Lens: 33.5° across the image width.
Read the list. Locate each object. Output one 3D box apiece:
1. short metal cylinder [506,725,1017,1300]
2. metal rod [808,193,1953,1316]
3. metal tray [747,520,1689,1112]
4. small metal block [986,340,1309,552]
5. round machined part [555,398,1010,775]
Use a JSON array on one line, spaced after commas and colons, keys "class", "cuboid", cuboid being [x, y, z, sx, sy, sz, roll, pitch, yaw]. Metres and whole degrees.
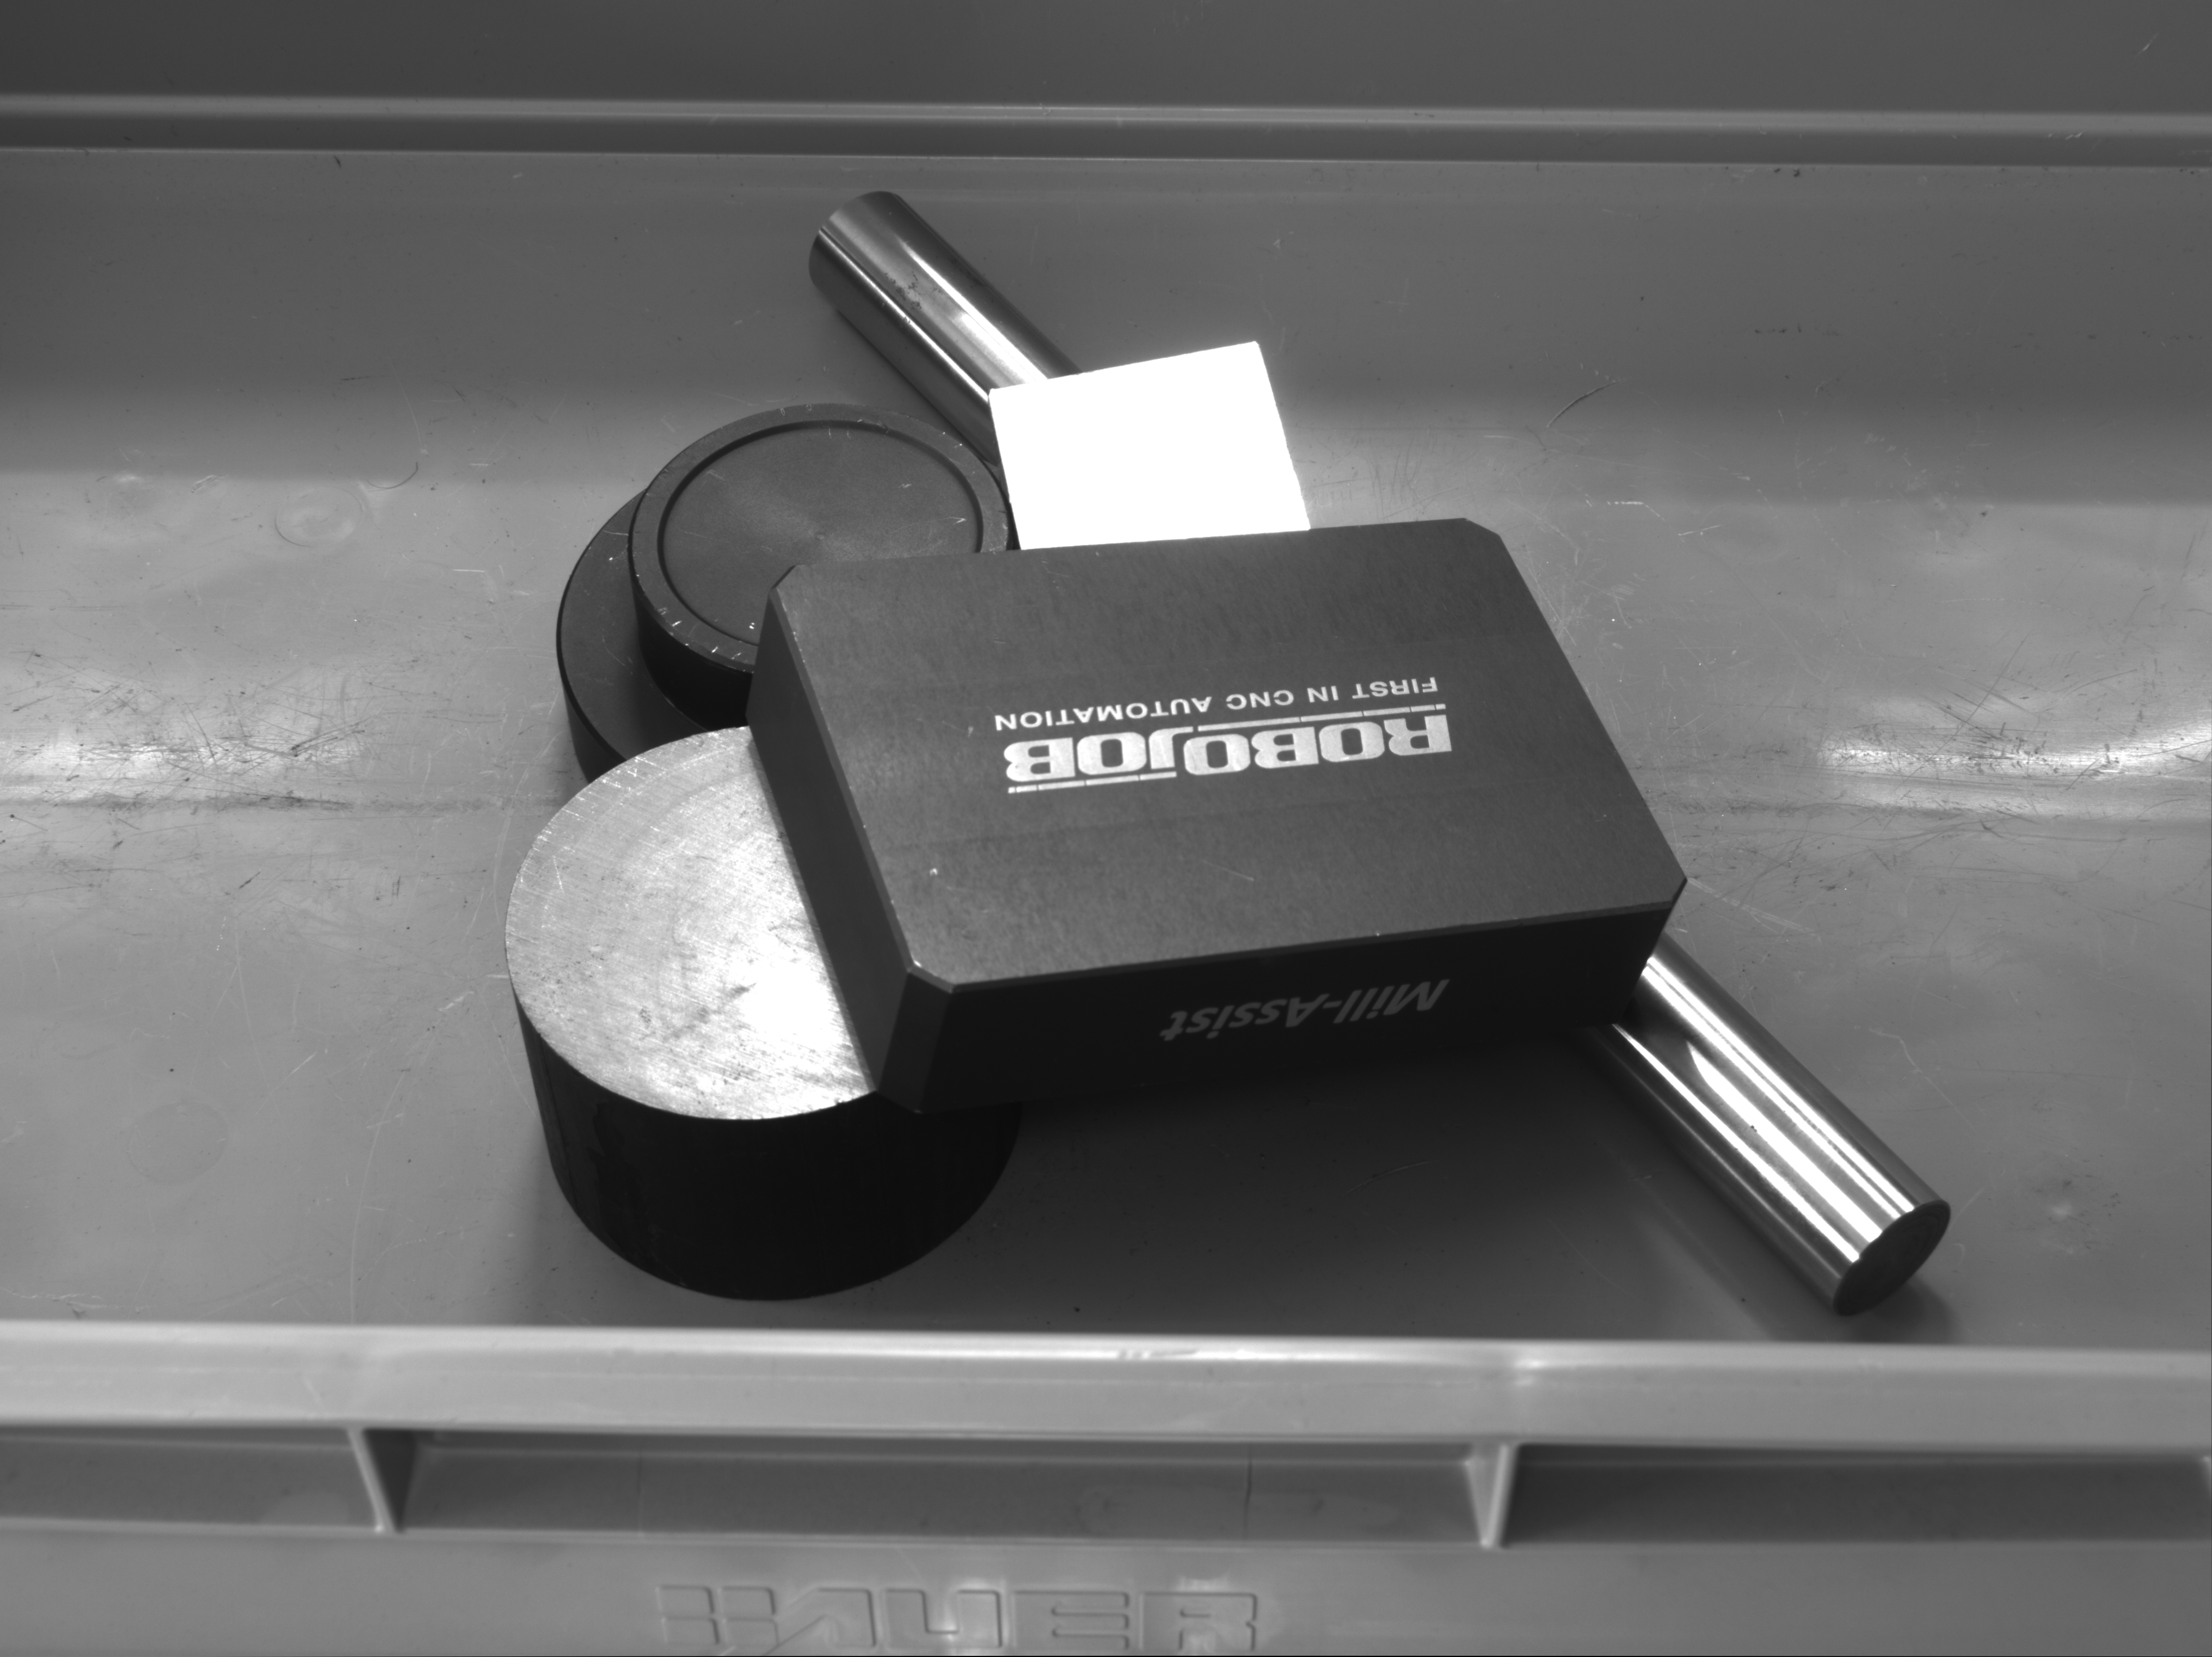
[{"class": "short metal cylinder", "cuboid": [-0.054, 0.029, 0.599, 0.080, 0.050, 0.080, 0, 50, 0]}, {"class": "metal rod", "cuboid": [0.038, -0.025, 0.662, 0.025, 0.025, 0.299, -29, 56, -22]}, {"class": "metal tray", "cuboid": [0.017, -0.005, 0.592, 0.130, 0.030, 0.090, -6, 49, -21]}, {"class": "small metal block", "cuboid": [0.008, -0.057, 0.658, 0.050, 0.025, 0.050, -11, 53, -2]}, {"class": "round machined part", "cuboid": [-0.050, -0.039, 0.662, 0.098, 0.042, 0.098, -1, 50, 1]}]
